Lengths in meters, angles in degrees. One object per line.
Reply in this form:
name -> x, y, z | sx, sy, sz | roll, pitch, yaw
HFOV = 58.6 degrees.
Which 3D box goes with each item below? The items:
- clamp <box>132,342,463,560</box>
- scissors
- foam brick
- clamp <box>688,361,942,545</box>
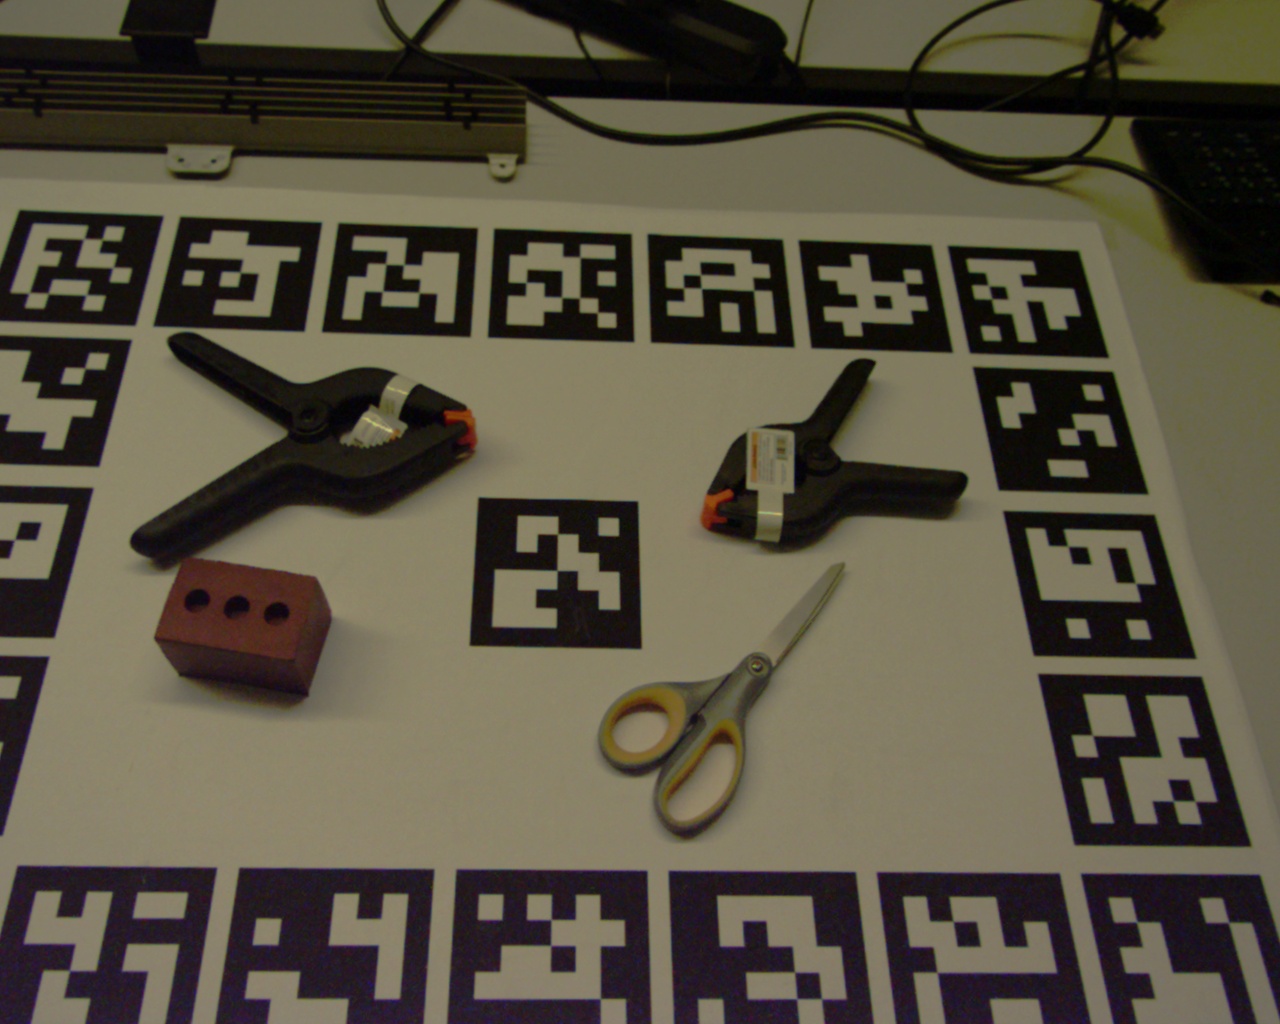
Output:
clamp -> -0.219, -0.045, 0.750 | 0.202, 0.036, 0.166 | -2, 58, -6
scissors -> 0.045, 0.101, 0.694 | 0.088, 0.016, 0.201 | 40, 64, 8
foam brick -> -0.234, 0.071, 0.678 | 0.078, 0.051, 0.053 | 7, 62, 4
clamp -> 0.106, -0.026, 0.766 | 0.164, 0.036, 0.122 | -24, 72, -15
